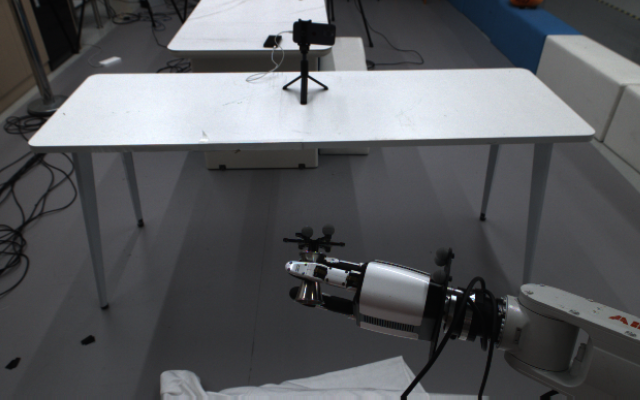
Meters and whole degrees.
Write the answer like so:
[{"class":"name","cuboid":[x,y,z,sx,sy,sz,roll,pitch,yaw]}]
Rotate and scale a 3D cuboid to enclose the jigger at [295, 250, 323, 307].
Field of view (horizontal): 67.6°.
[{"class":"jigger","cuboid":[-0.014,0.108,0.679,0.043,0.043,0.071,4,71,3]}]
